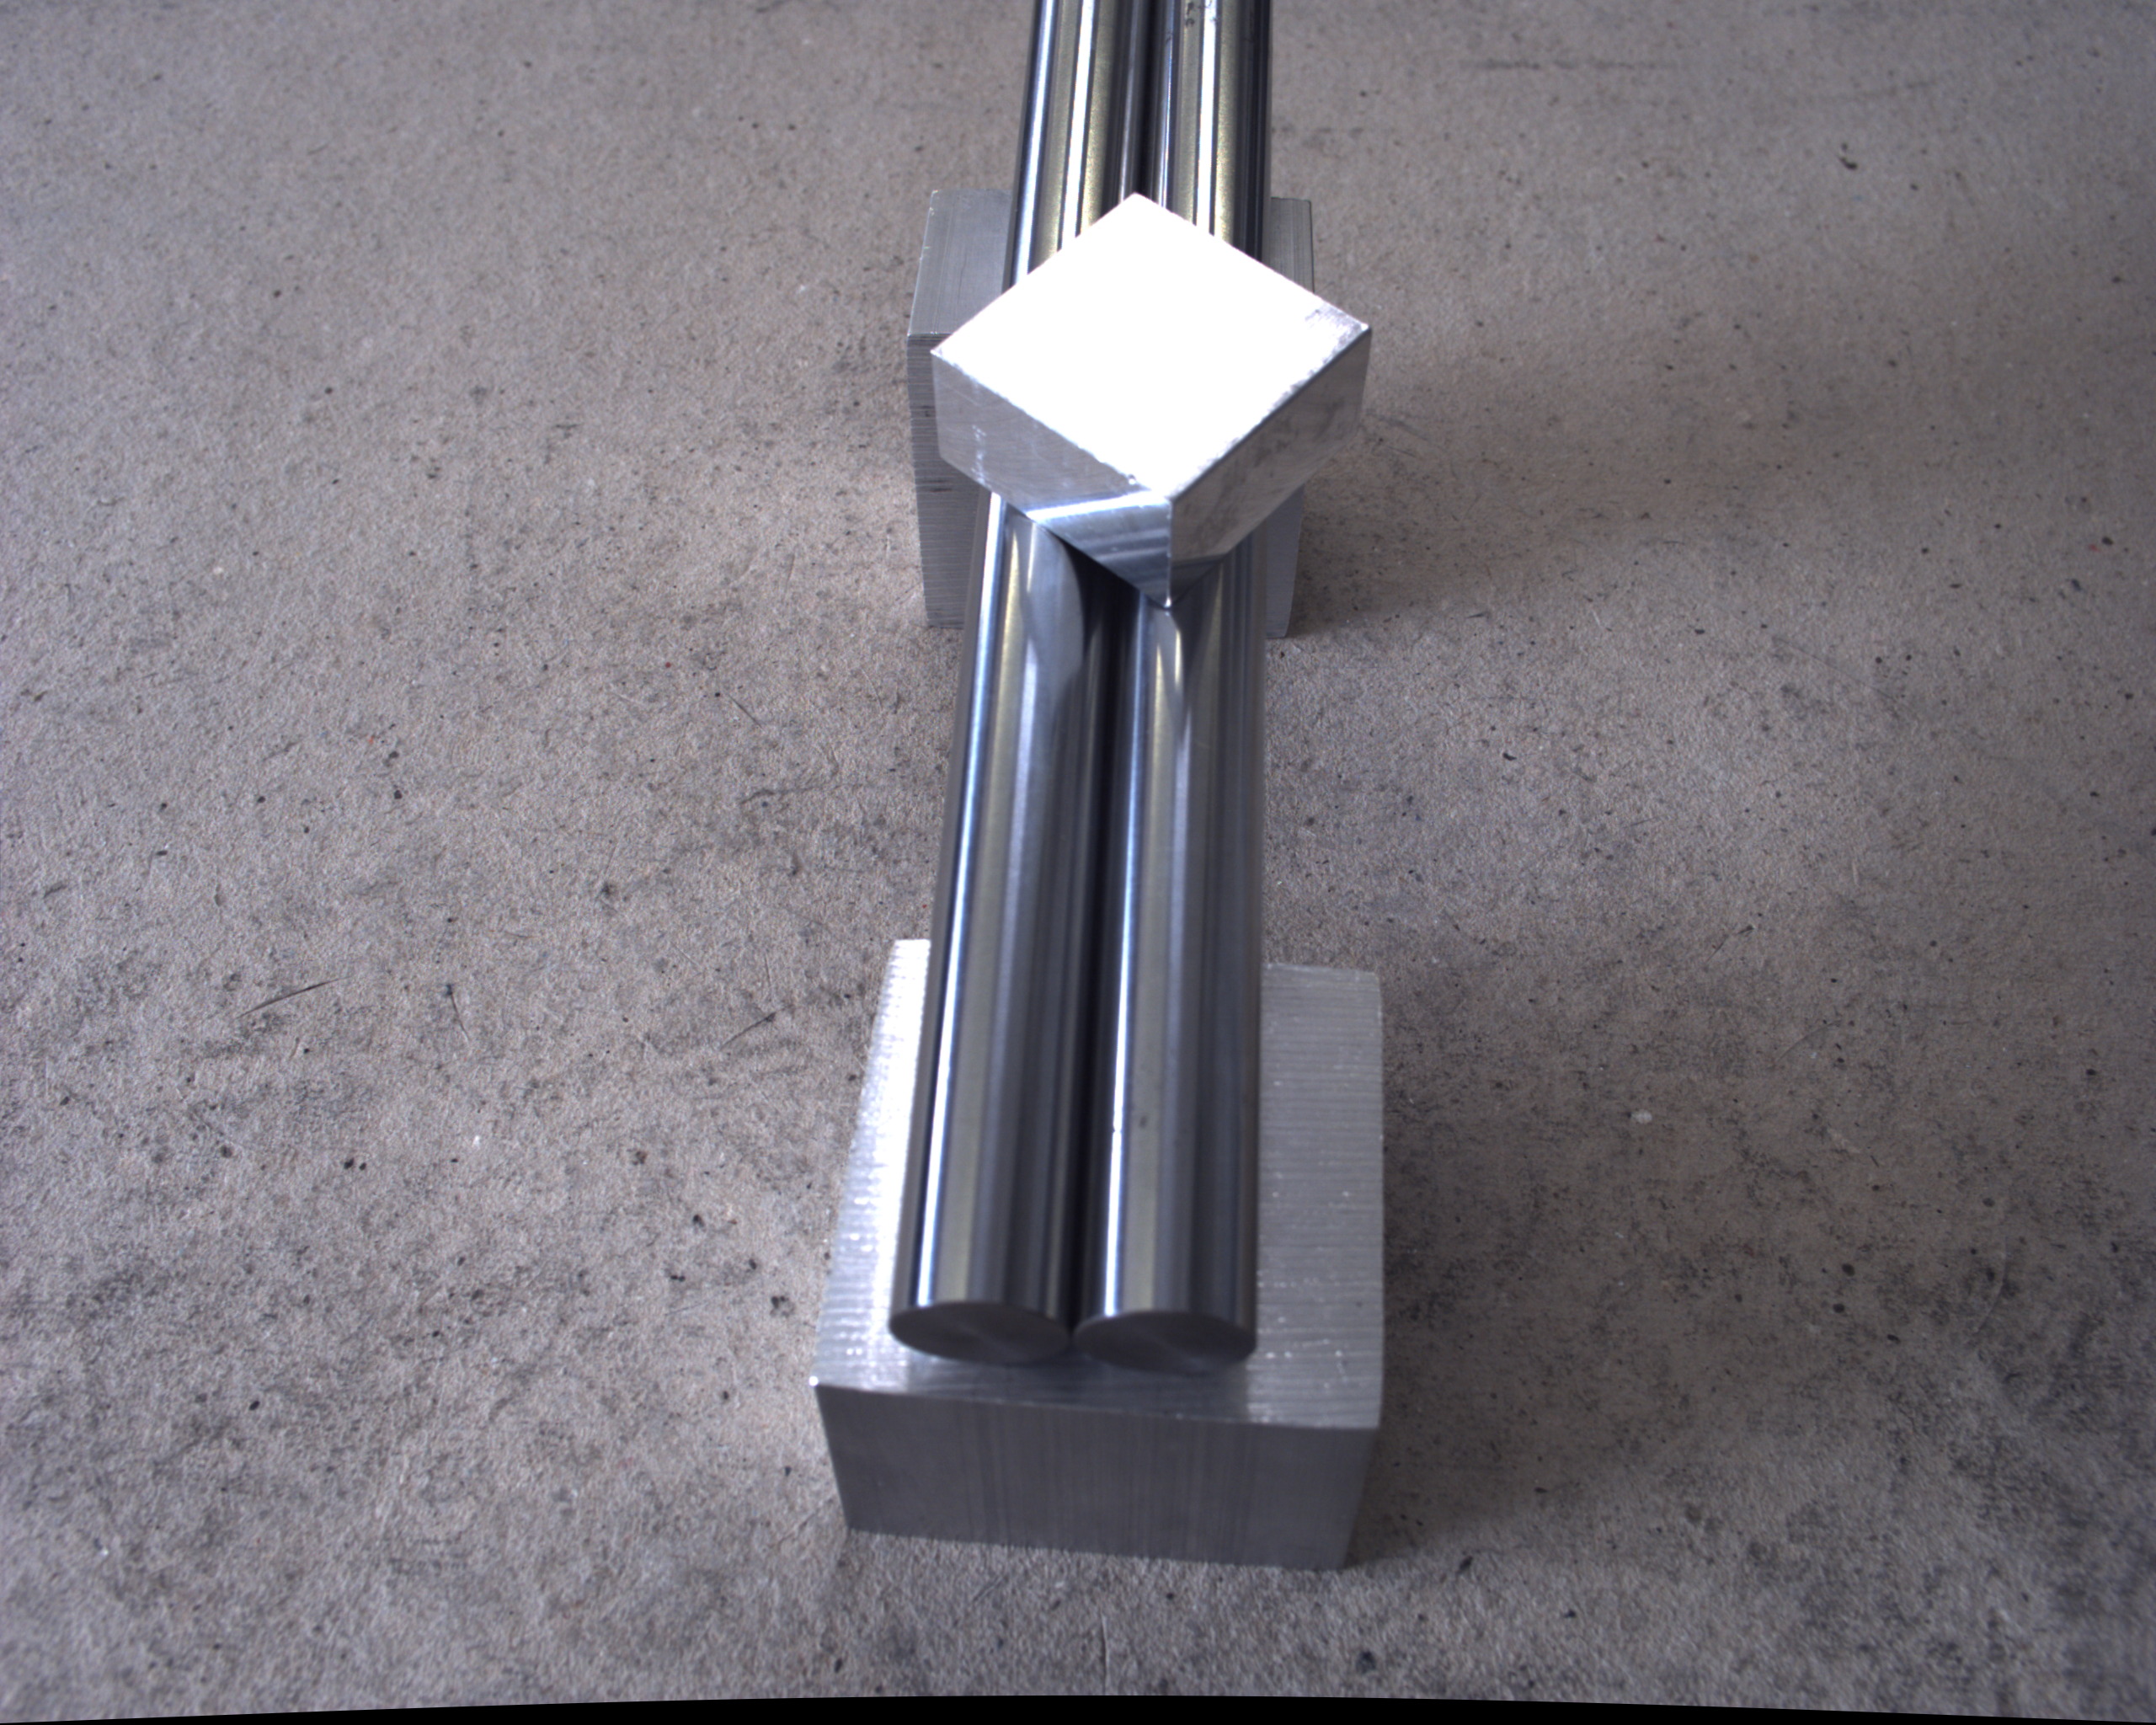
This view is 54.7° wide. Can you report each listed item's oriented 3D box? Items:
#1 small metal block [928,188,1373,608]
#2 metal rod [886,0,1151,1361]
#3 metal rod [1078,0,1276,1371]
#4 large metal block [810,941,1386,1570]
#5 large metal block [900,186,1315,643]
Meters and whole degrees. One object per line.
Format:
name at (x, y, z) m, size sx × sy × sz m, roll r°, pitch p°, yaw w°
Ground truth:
small metal block at (0.012, -0.077, 0.343) m, size 0.050 × 0.025 × 0.050 m, roll 37°, pitch 64°, yaw 20°
metal rod at (-0.005, -0.062, 0.362) m, size 0.025 × 0.025 × 0.300 m, roll 3°, pitch 57°, yaw 2°
metal rod at (0.021, -0.061, 0.362) m, size 0.025 × 0.025 × 0.300 m, roll 3°, pitch 57°, yaw 2°
large metal block at (0.006, 0.062, 0.336) m, size 0.080 × 0.050 × 0.080 m, roll 4°, pitch 50°, yaw 3°
large metal block at (0.007, -0.095, 0.449) m, size 0.080 × 0.080 × 0.050 m, roll 3°, pitch 50°, yaw 2°
